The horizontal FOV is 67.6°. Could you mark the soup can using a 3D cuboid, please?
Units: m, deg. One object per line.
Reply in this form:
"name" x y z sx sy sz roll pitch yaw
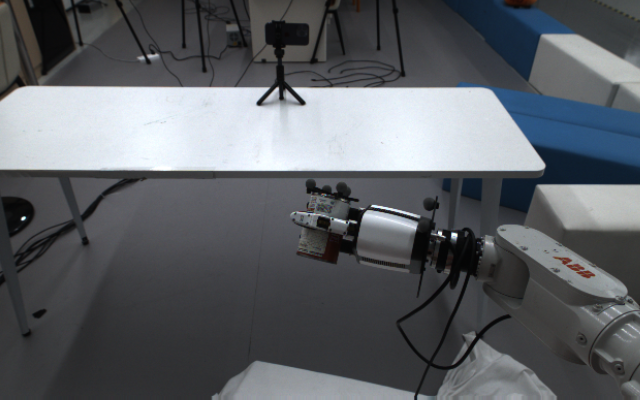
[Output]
"soup can" 0.007 0.046 0.771 0.067 0.101 0.067 13 -6 1
